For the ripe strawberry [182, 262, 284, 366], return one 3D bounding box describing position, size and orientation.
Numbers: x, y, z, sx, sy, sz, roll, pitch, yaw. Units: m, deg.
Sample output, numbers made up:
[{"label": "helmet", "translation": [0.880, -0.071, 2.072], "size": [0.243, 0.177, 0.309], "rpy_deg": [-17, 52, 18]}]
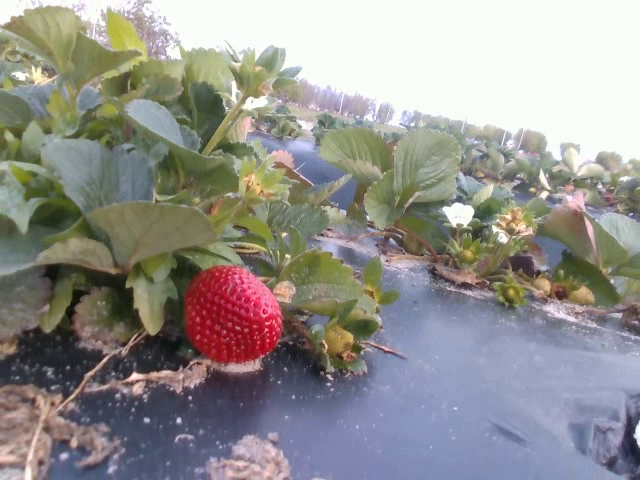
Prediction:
[{"label": "ripe strawberry", "translation": [-0.033, 0.028, 0.246], "size": [0.043, 0.047, 0.046], "rpy_deg": [-28, 16, -33]}]
